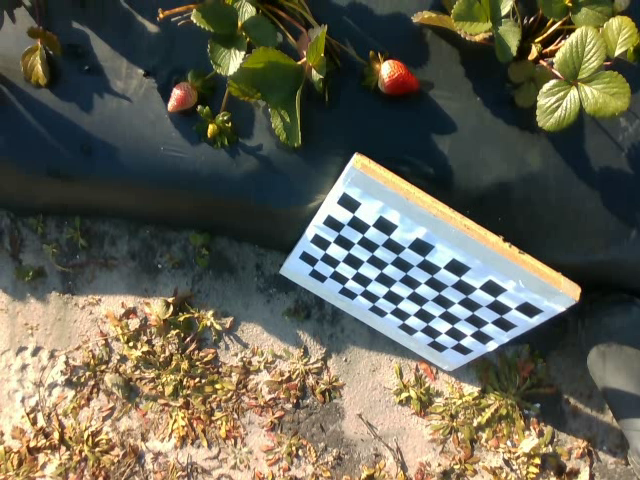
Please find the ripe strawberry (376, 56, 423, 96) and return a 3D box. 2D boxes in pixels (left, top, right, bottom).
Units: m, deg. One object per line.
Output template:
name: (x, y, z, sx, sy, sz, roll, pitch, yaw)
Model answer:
ripe strawberry: (0.093, -0.184, 0.676, 0.064, 0.043, 0.045, 18, -36, 9)
